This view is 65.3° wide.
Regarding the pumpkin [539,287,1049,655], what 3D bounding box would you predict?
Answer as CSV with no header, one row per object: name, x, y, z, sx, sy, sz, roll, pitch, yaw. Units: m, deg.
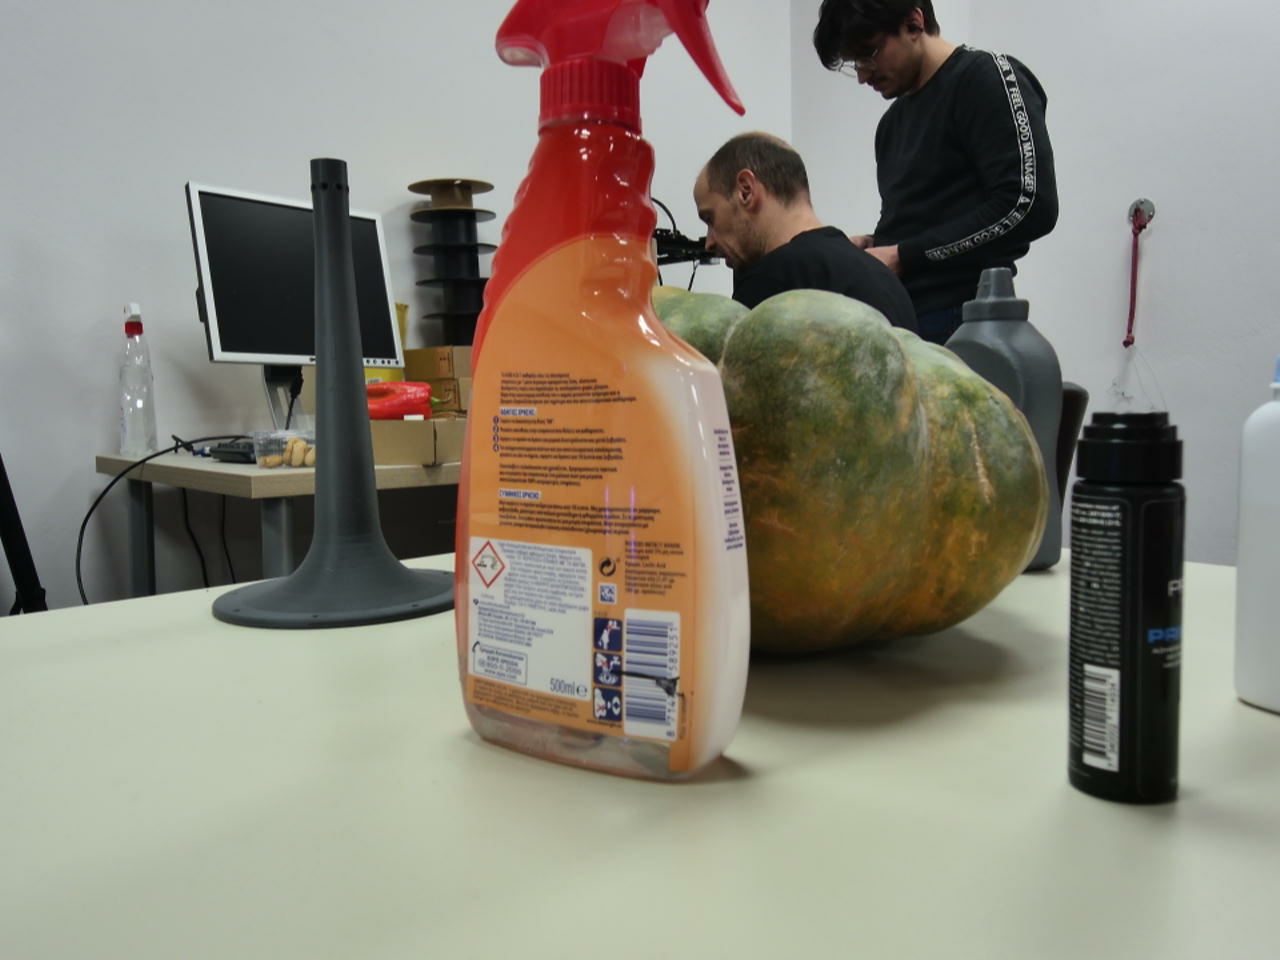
pumpkin,0.071,-0.009,0.495,0.237,0.173,0.270,0,3,-3
